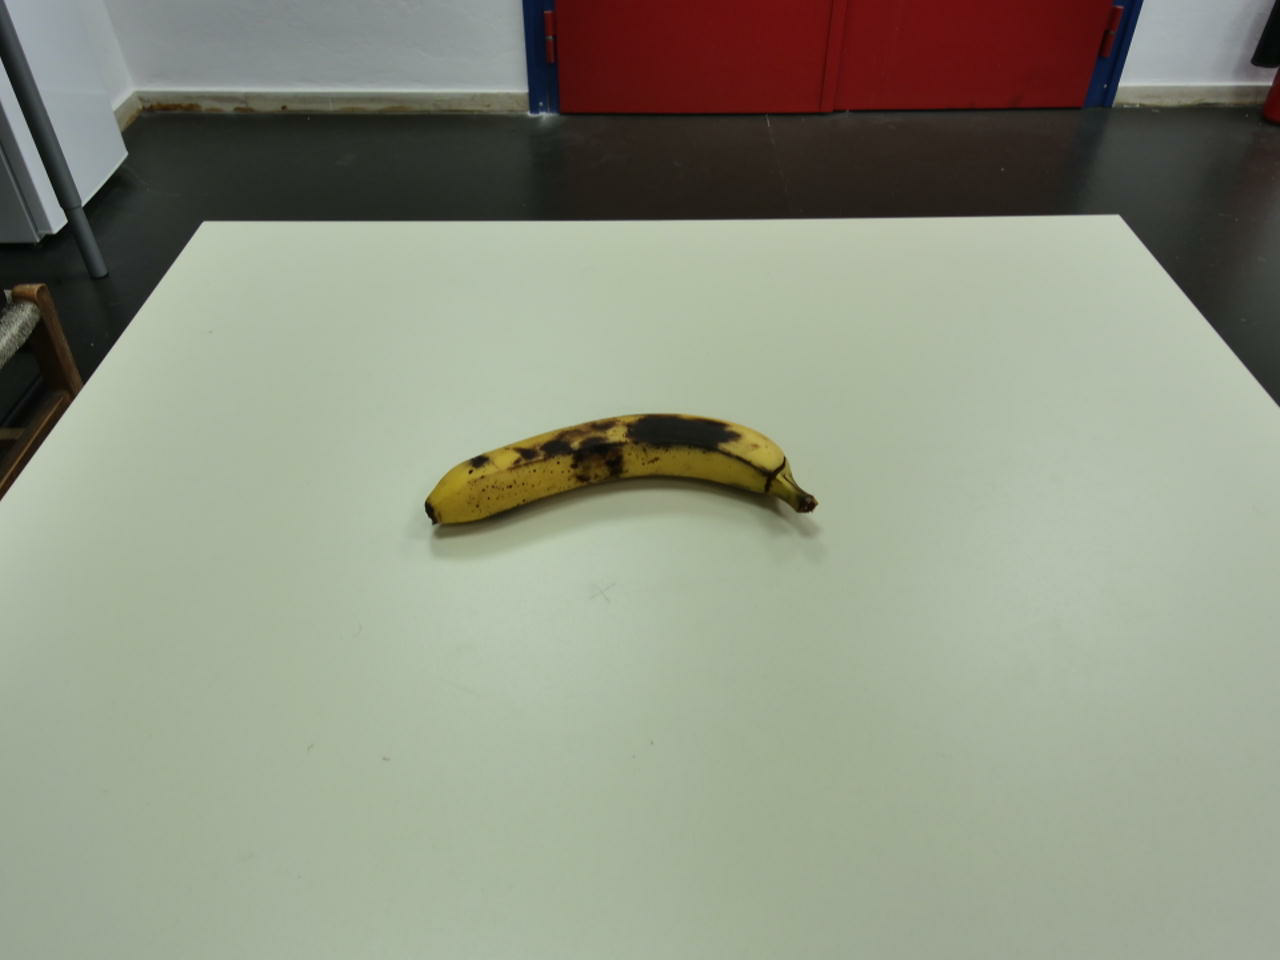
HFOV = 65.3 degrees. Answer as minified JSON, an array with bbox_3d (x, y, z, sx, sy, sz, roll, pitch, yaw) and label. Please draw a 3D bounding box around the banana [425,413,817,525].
[{"bbox_3d":[-0.011,-0.008,0.590,0.222,0.037,0.084,0,39,0],"label":"banana"}]
